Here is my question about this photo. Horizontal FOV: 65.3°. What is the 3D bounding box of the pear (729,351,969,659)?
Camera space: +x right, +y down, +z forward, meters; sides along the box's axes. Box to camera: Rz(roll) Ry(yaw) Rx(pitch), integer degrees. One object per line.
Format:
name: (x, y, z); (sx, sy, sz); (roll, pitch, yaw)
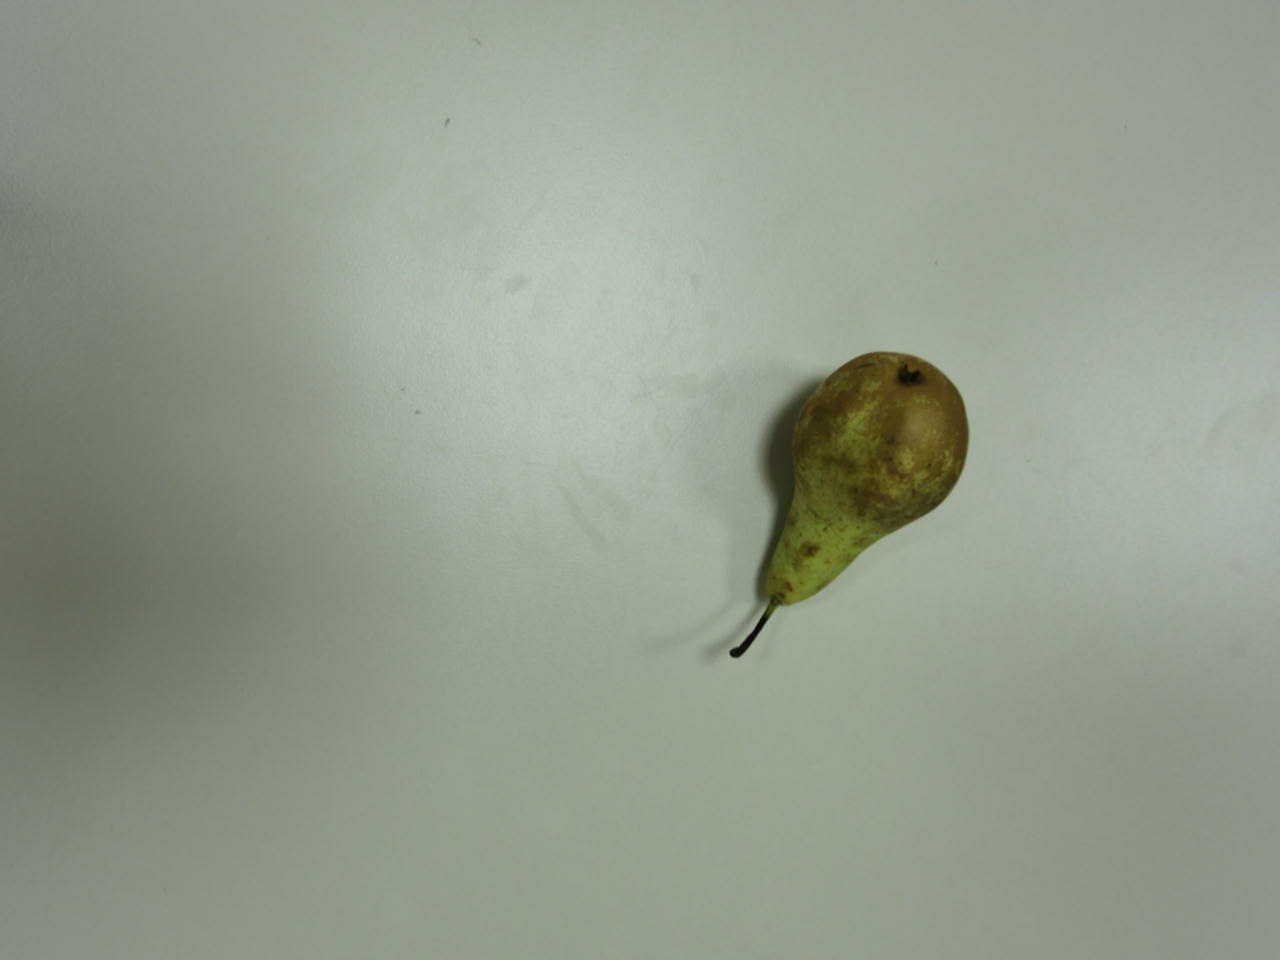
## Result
pear: (0.093, 0.016, 0.425); (0.071, 0.075, 0.144); (17, 87, -11)
